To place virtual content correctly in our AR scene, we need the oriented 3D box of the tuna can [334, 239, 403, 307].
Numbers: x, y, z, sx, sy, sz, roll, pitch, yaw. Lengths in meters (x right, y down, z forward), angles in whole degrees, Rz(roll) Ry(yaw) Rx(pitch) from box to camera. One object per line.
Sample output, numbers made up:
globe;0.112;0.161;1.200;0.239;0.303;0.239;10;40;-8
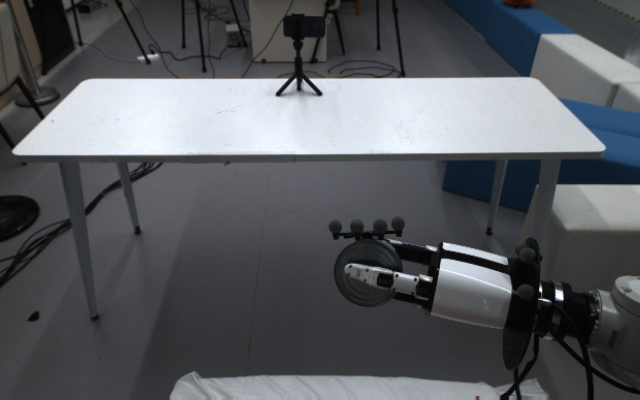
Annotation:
tuna can;0.064;0.089;0.614;0.085;0.085;0.034;10;2;12
